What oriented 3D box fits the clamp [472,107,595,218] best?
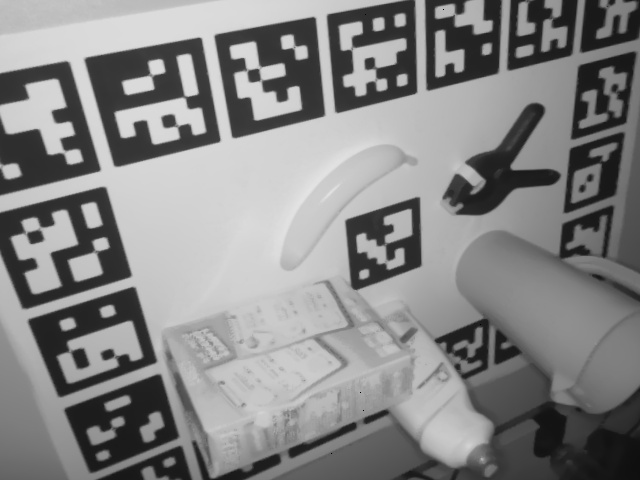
[{"bbox_3d":[0.261,-0.077,0.850,0.166,0.036,0.121,-30,126,-8],"label":"clamp"}]

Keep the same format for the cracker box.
[{"bbox_3d":[-0.003,0.133,0.729,0.216,0.163,0.071,-16,125,-20],"label":"cracker box"}]

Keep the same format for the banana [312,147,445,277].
[{"bbox_3d":[0.054,-0.039,0.773,0.197,0.038,0.074,-46,127,1],"label":"banana"}]

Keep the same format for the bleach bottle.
[{"bbox_3d":[0.157,0.166,0.794,0.104,0.250,0.067,-17,123,-18],"label":"bleach bottle"}]

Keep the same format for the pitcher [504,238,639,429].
[{"bbox_3d":[0.333,0.087,0.819,0.189,0.242,0.133,-31,126,-5],"label":"pitcher"}]
